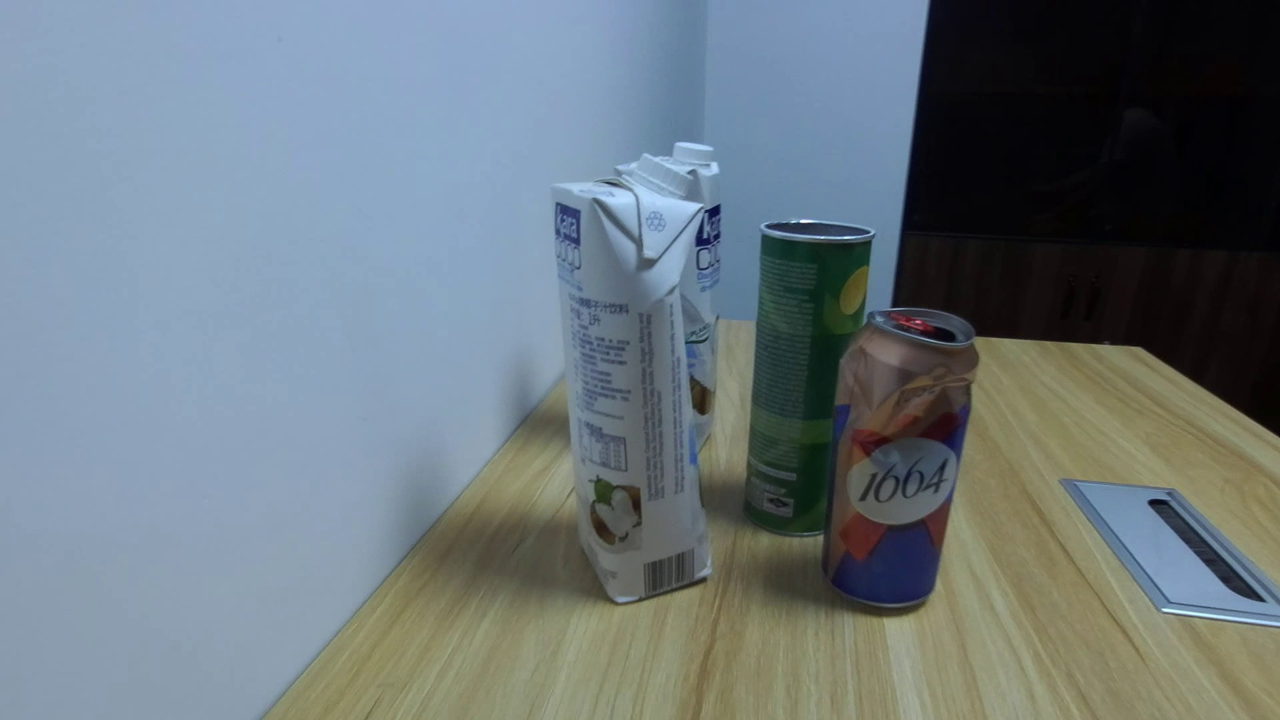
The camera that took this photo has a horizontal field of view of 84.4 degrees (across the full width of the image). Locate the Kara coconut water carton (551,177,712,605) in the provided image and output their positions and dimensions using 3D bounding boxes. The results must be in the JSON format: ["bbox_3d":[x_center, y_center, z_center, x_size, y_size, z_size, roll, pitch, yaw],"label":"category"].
[{"bbox_3d":[-0.002,0.011,0.398,0.071,0.244,0.099,-9,24,-20],"label":"Kara coconut water carton"}]

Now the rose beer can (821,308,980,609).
[{"bbox_3d":[0.144,0.057,0.395,0.076,0.167,0.065,-1,23,-11],"label":"rose beer can"}]

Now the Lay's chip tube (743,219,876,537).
[{"bbox_3d":[0.109,0.012,0.466,0.071,0.202,0.071,1,19,0],"label":"Lay's chip tube"}]

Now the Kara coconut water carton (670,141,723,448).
[{"bbox_3d":[0.024,-0.044,0.562,0.075,0.245,0.077,6,21,21],"label":"Kara coconut water carton"}]
